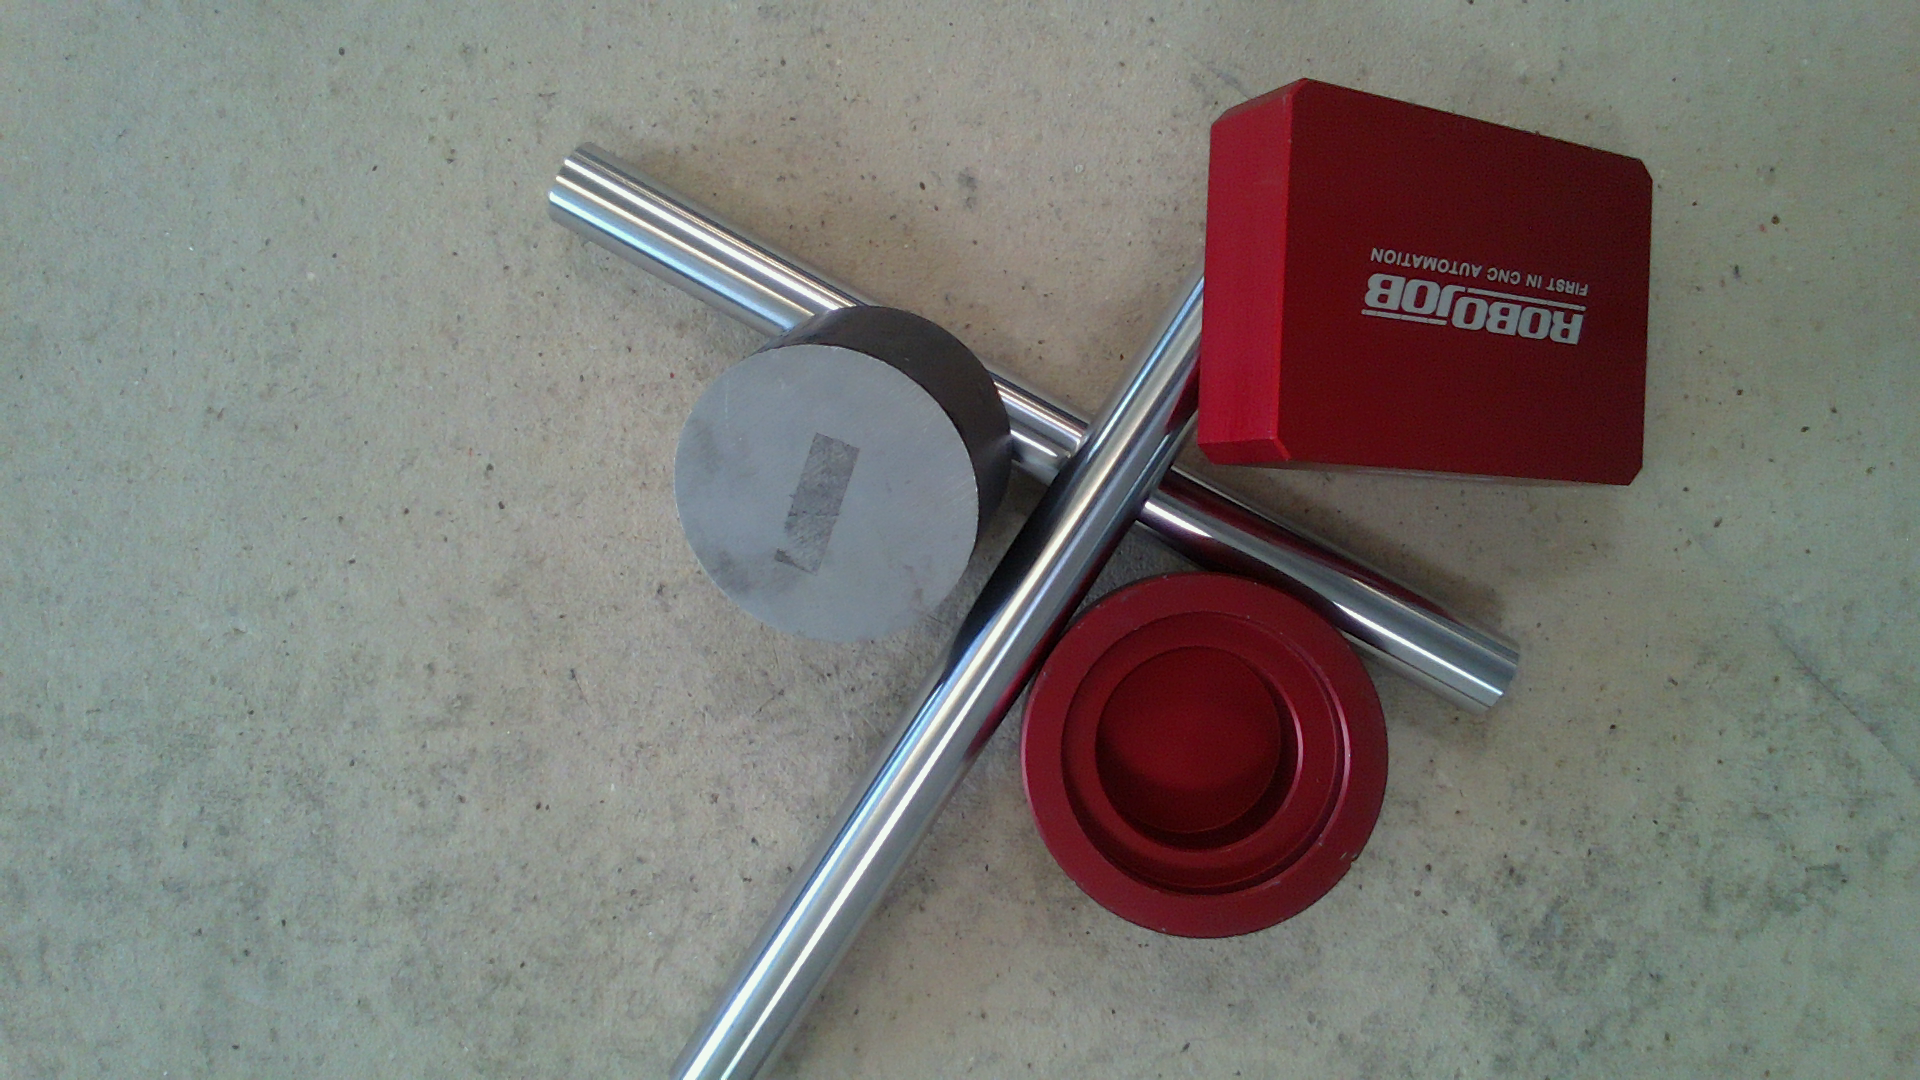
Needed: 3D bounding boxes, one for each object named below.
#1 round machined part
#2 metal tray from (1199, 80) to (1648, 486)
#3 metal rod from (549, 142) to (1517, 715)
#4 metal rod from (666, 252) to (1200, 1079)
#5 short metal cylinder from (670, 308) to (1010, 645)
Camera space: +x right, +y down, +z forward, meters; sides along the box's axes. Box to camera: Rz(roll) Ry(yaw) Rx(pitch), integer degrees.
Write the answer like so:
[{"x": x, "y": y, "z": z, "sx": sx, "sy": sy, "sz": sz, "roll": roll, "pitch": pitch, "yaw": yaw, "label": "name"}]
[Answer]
[{"x": 0.065, "y": 0.058, "z": 0.387, "sx": 0.098, "sy": 0.042, "sz": 0.098, "roll": 0, "pitch": 90, "yaw": 0, "label": "round machined part"}, {"x": 0.126, "y": -0.062, "z": 0.365, "sx": 0.130, "sy": 0.030, "sz": 0.090, "roll": 2, "pitch": 90, "yaw": -28, "label": "metal tray"}, {"x": 0.021, "y": -0.032, "z": 0.396, "sx": 0.300, "sy": 0.025, "sz": 0.025, "roll": 28, "pitch": 90, "yaw": 0, "label": "metal rod"}, {"x": 0.007, "y": 0.033, "z": 0.378, "sx": 0.025, "sy": 0.025, "sz": 0.300, "roll": 33, "pitch": 97, "yaw": 0, "label": "metal rod"}, {"x": -0.030, "y": -0.019, "z": 0.370, "sx": 0.080, "sy": 0.050, "sz": 0.080, "roll": 4, "pitch": 111, "yaw": 11, "label": "short metal cylinder"}]
